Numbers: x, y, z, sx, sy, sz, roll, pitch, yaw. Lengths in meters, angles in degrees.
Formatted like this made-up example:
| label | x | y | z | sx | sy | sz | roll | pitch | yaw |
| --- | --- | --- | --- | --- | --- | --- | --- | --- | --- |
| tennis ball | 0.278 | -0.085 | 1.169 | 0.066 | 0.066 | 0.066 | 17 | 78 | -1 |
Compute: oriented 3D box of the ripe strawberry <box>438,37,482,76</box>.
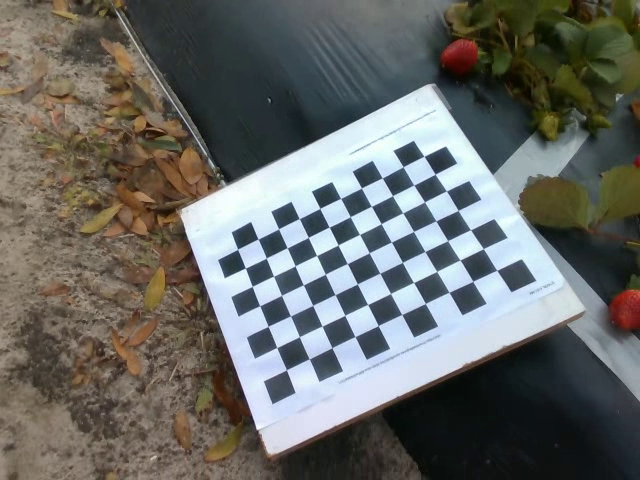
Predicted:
| label | x | y | z | sx | sy | sz | roll | pitch | yaw |
| --- | --- | --- | --- | --- | --- | --- | --- | --- | --- |
| ripe strawberry | 0.136 | -0.185 | 0.715 | 0.046 | 0.040 | 0.036 | -3 | 31 | -39 |
